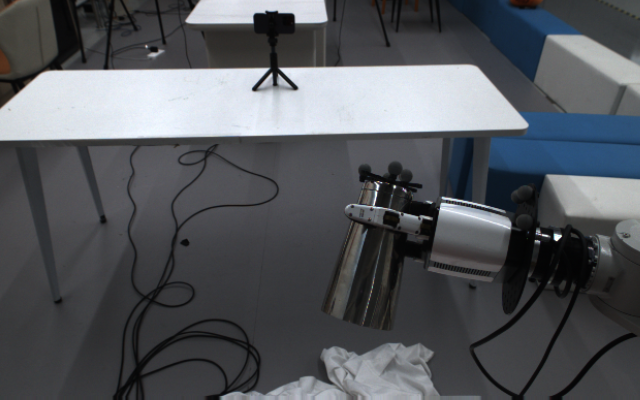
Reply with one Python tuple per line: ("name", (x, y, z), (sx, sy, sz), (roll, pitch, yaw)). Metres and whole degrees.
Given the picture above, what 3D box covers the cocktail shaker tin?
("cocktail shaker tin", (0.068, 0.064, 0.613), (0.093, 0.170, 0.093), (14, -5, 1))
